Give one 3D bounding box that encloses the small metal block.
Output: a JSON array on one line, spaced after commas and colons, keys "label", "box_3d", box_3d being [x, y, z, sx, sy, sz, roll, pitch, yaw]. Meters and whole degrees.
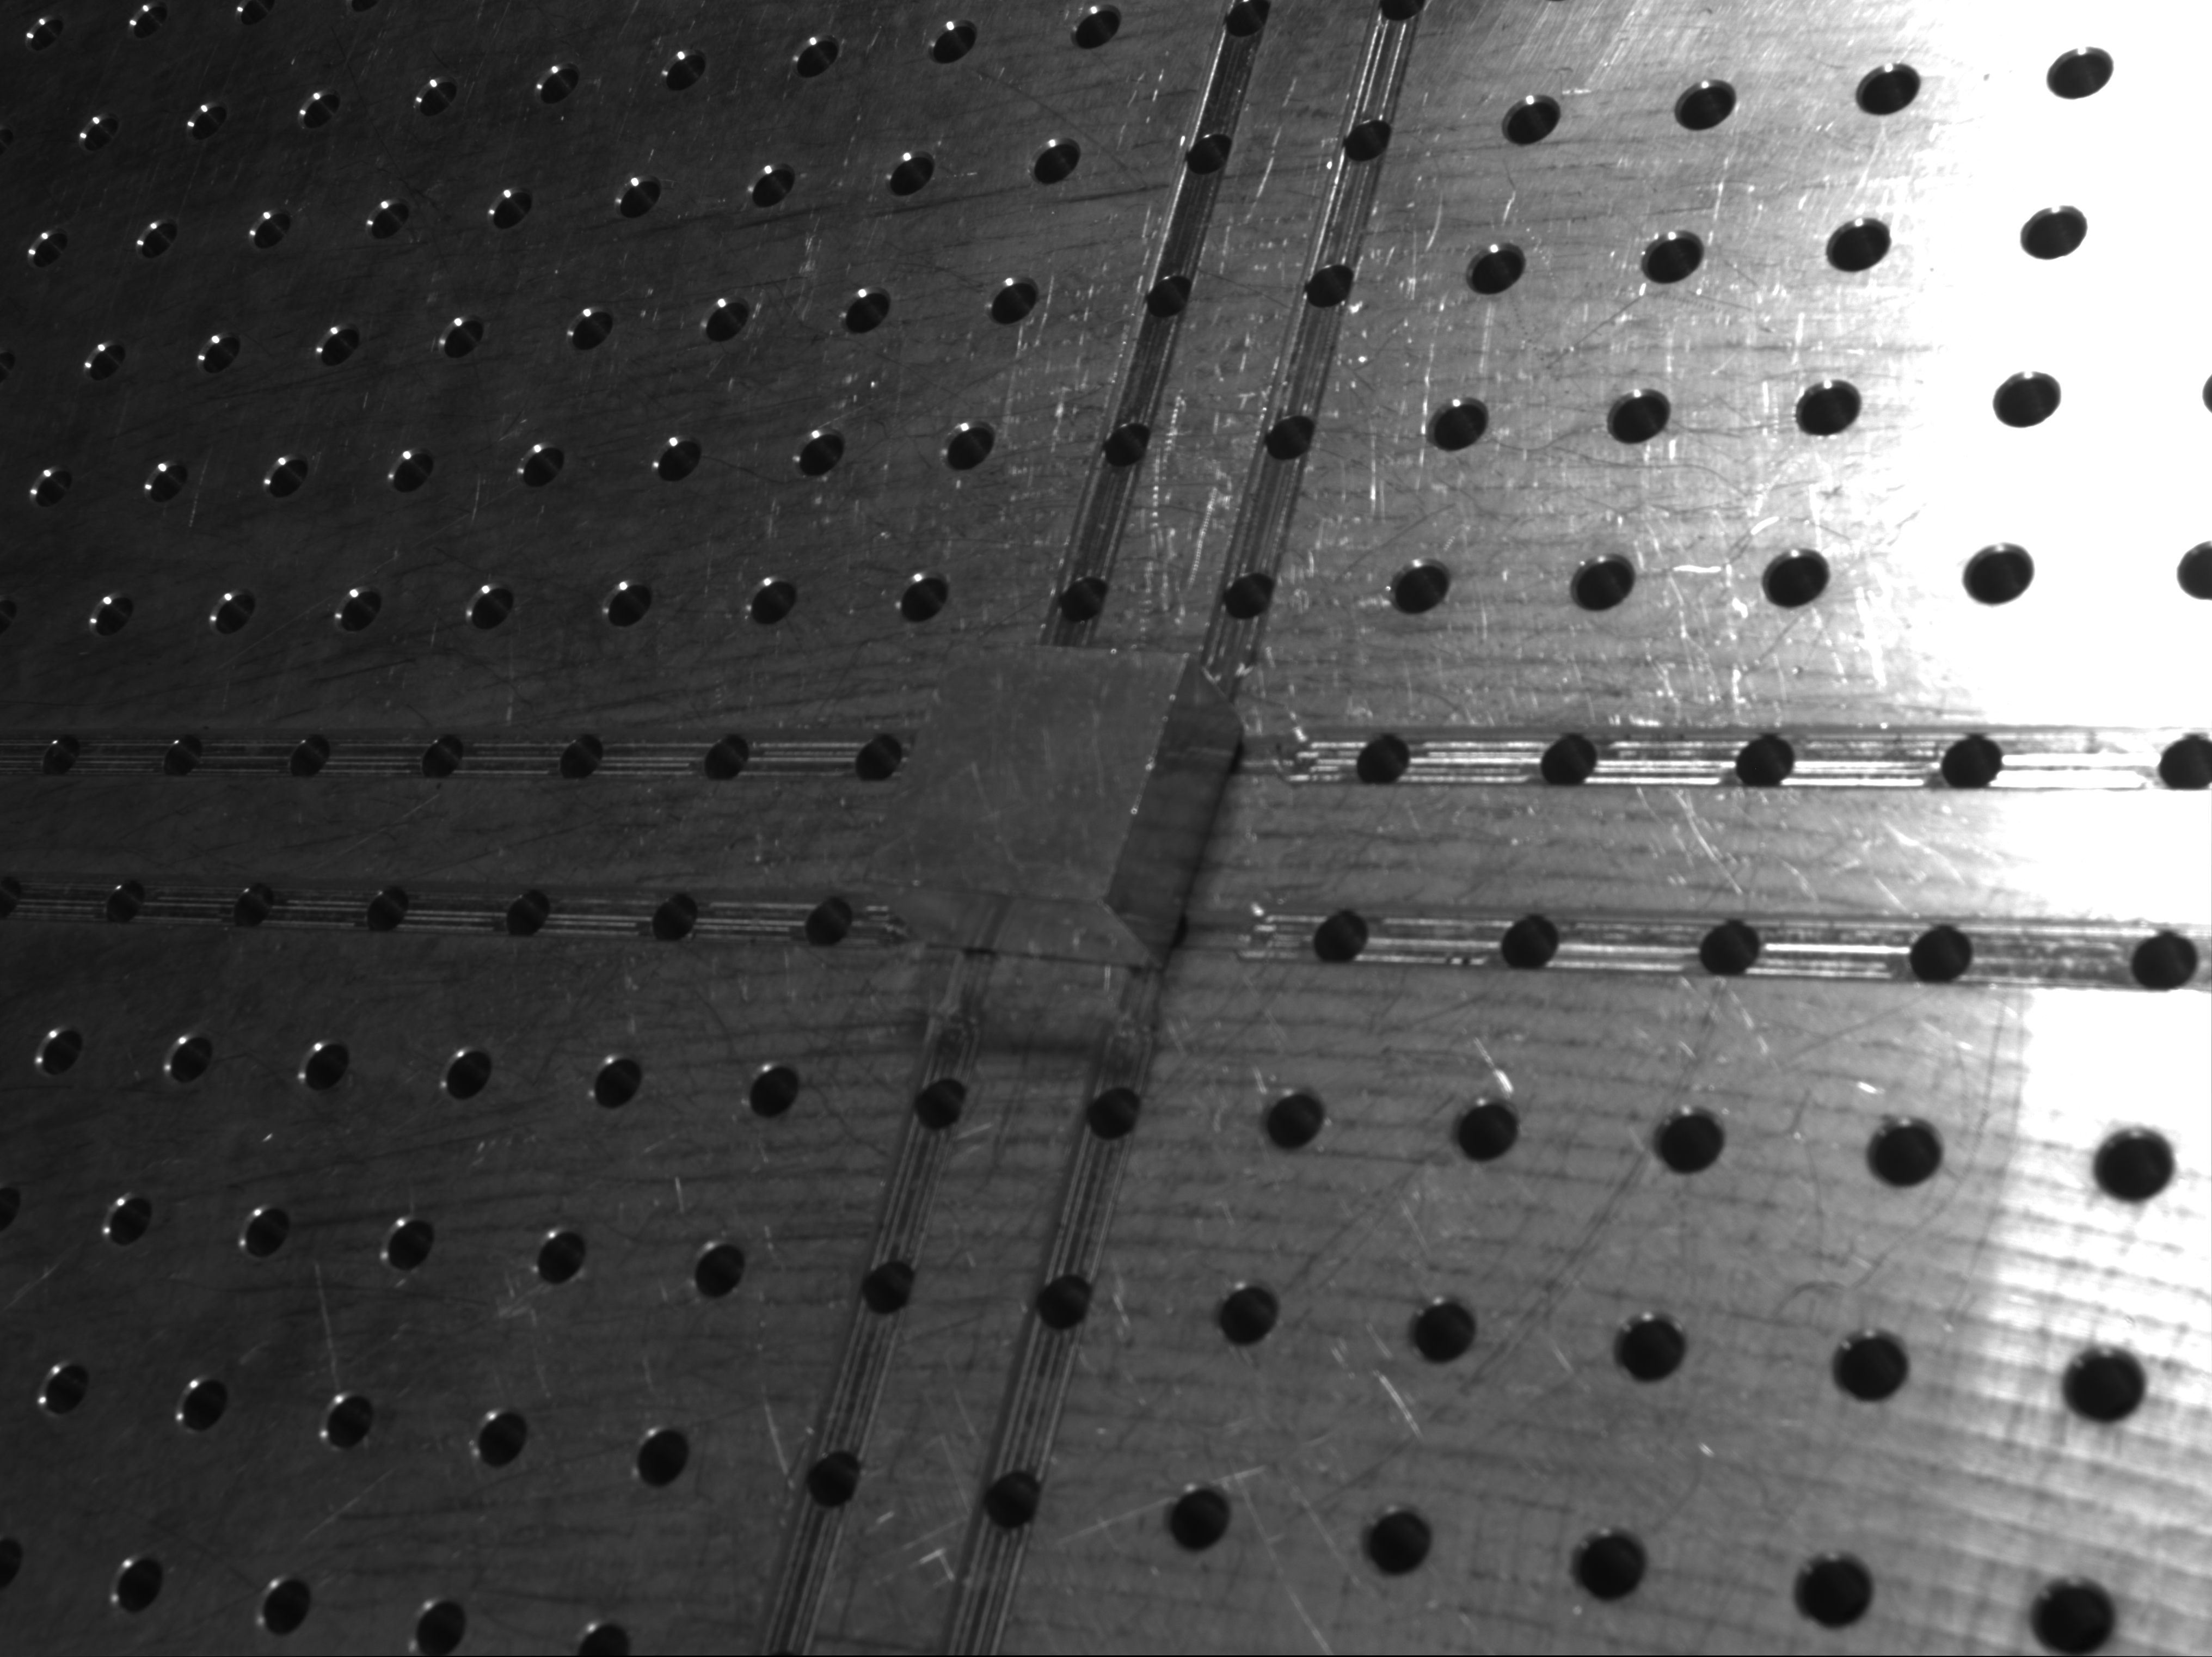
[{"label": "small metal block", "box_3d": [-0.007, -0.005, 0.654, 0.050, 0.025, 0.050, 5, 64, 31]}]
